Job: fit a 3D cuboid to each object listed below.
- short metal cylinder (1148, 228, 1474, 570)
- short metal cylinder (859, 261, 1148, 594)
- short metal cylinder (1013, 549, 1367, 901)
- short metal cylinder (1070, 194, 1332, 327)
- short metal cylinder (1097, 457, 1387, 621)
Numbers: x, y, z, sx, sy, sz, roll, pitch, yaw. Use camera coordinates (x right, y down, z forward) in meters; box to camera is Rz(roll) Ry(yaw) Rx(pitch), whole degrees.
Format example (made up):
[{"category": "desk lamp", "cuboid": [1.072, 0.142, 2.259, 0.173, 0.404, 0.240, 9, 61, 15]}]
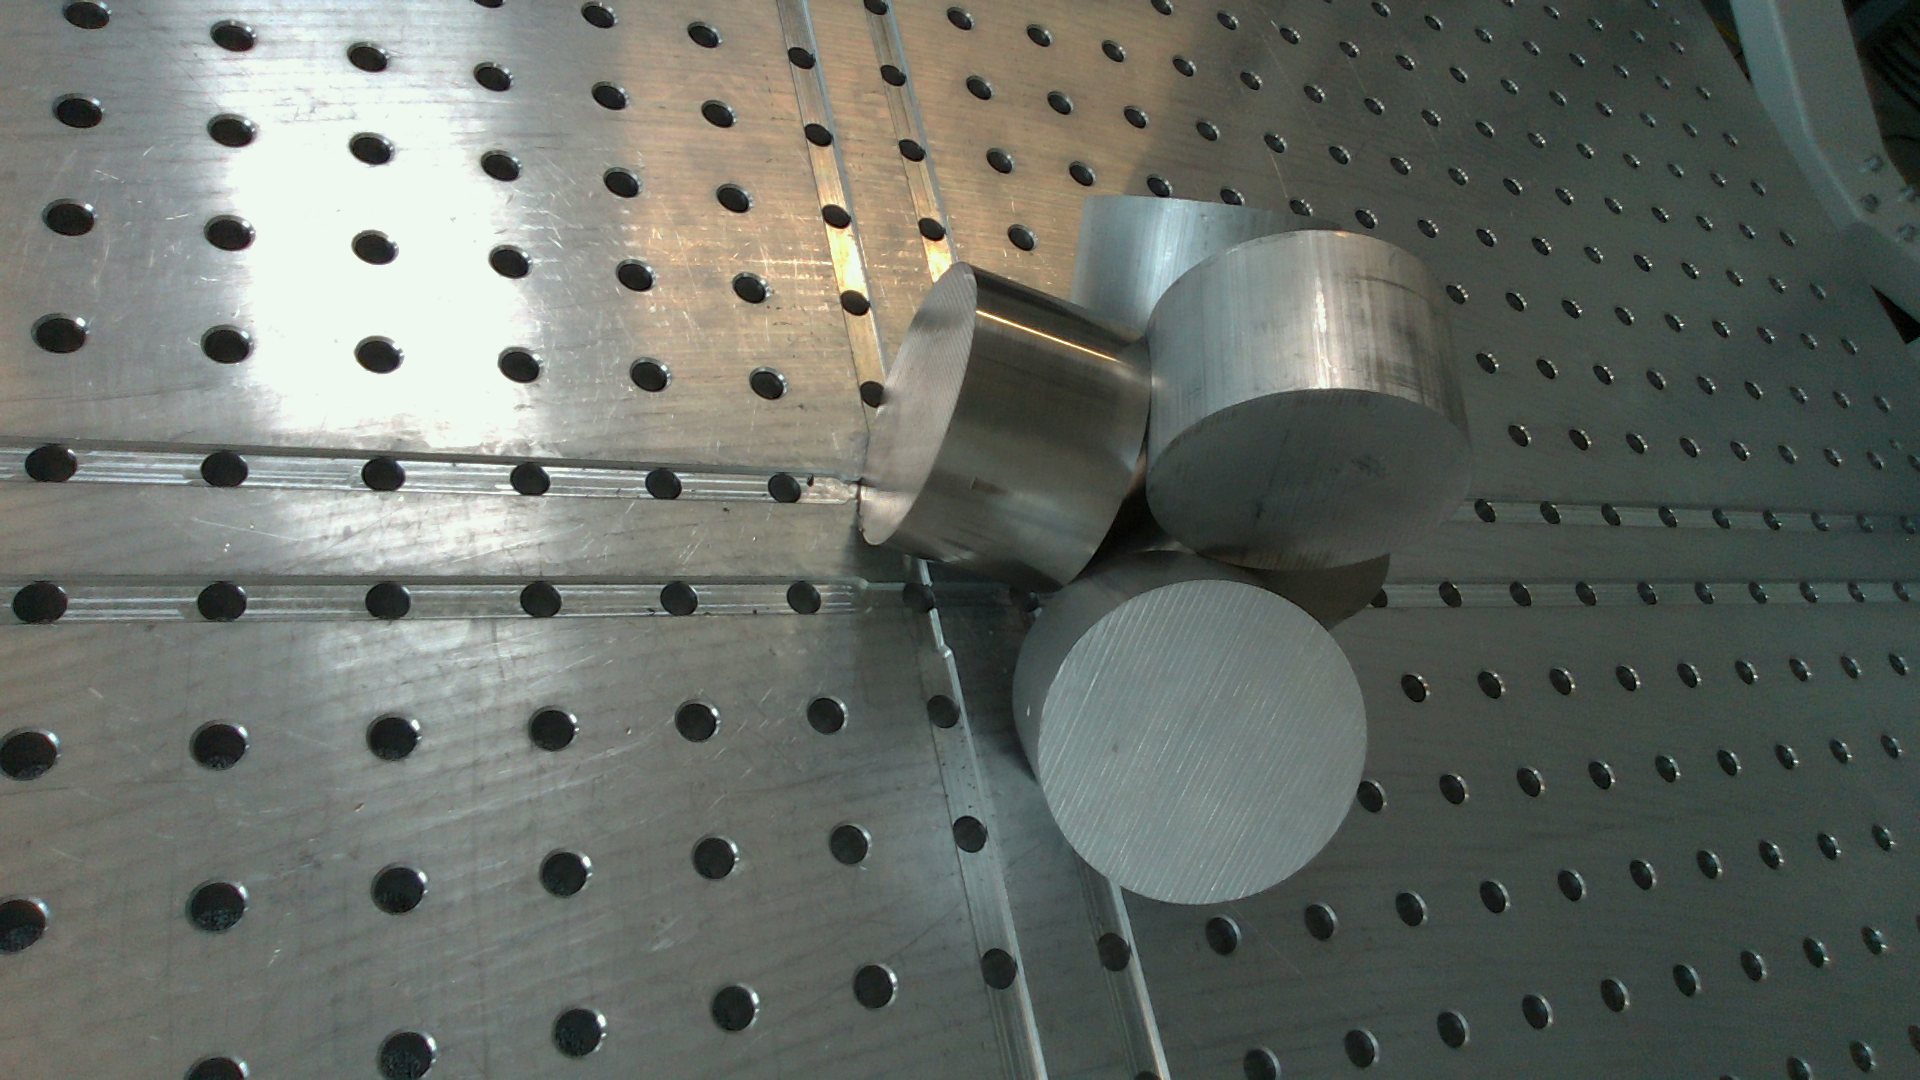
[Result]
[{"category": "short metal cylinder", "cuboid": [0.089, -0.035, 0.361, 0.080, 0.080, 0.050, 16, 55, -19]}, {"category": "short metal cylinder", "cuboid": [0.010, -0.030, 0.381, 0.050, 0.080, 0.080, 17, 55, -18]}, {"category": "short metal cylinder", "cuboid": [0.056, 0.045, 0.353, 0.080, 0.050, 0.080, -1, 98, -5]}, {"category": "short metal cylinder", "cuboid": [0.075, -0.078, 0.437, 0.080, 0.080, 0.050, 2, 100, -27]}, {"category": "short metal cylinder", "cuboid": [0.082, -0.001, 0.420, 0.080, 0.050, 0.080, 13, 55, -20]}]
